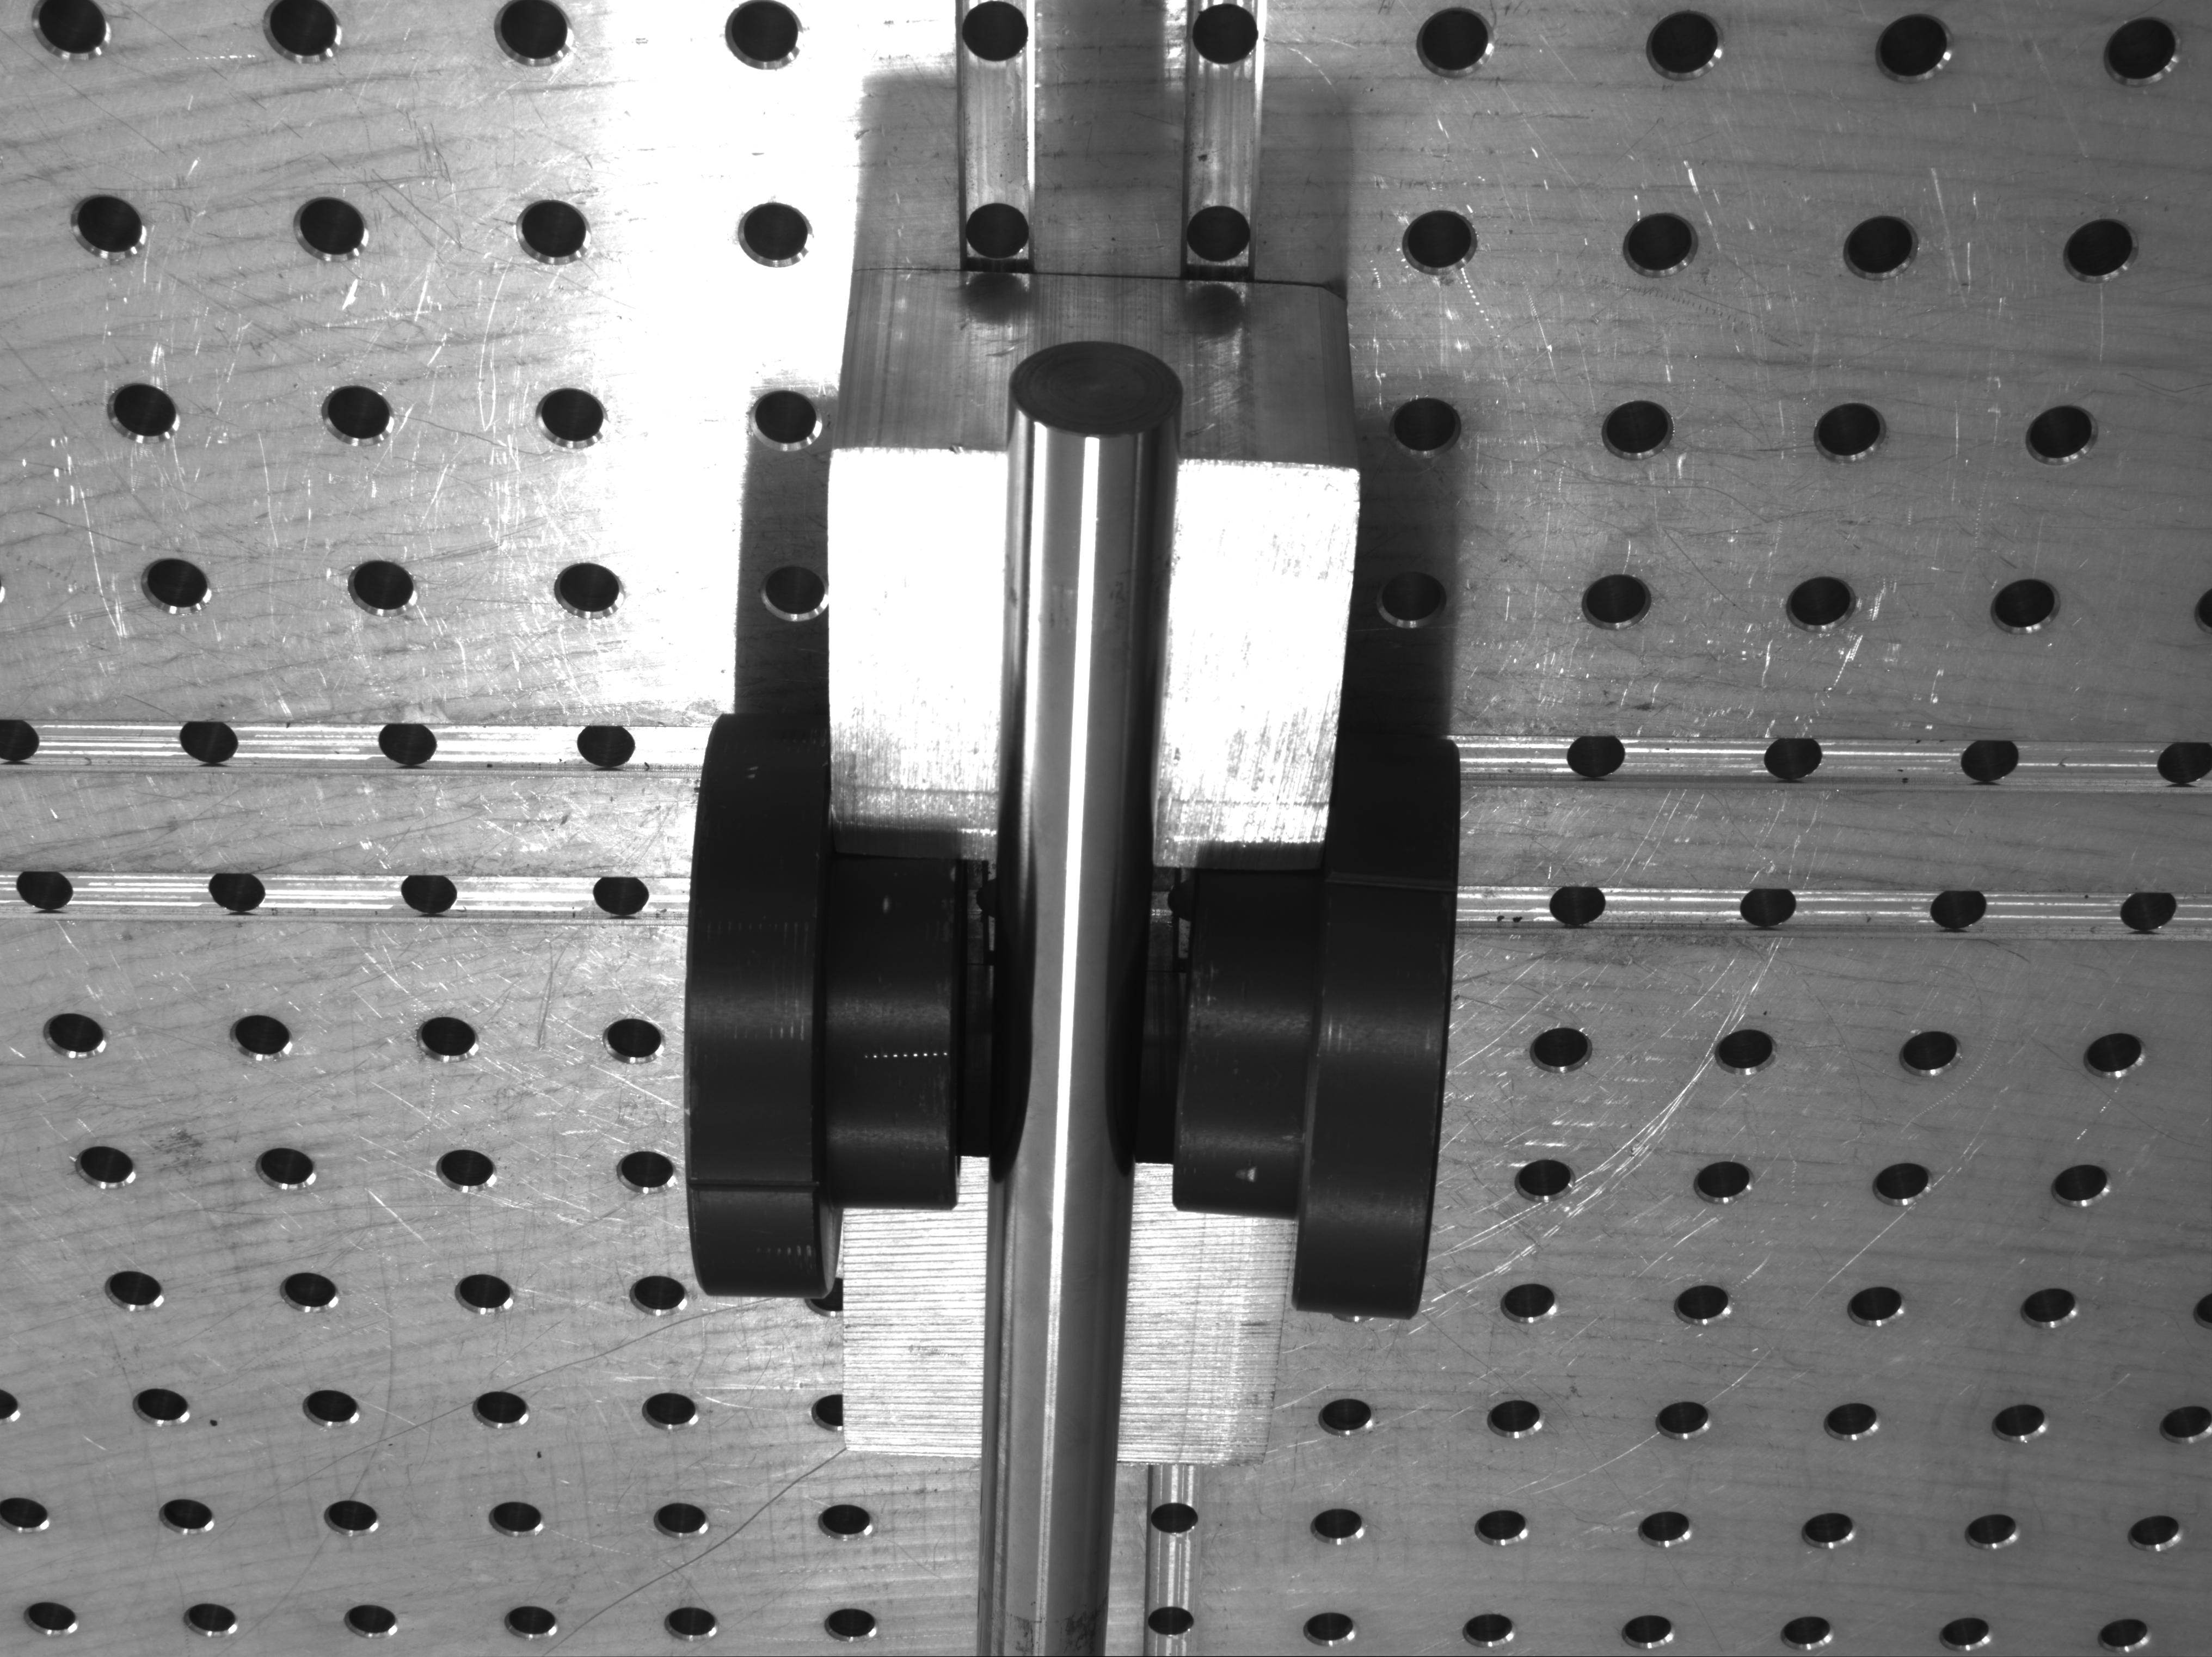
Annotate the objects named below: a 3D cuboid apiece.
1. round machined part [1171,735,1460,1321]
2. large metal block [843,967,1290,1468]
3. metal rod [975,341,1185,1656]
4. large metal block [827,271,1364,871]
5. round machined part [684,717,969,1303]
[{"bbox_3d":[0.035,0.033,0.622,0.042,0.098,0.098,4,130,3],"label":"round machined part"},{"bbox_3d":[-0.008,0.073,0.687,0.080,0.050,0.080,2,130,-2],"label":"large metal block"},{"bbox_3d":[-0.007,0.052,0.621,0.025,0.025,0.300,2,130,-1],"label":"metal rod"},{"bbox_3d":[-0.003,-0.041,0.592,0.080,0.050,0.080,2,130,-1],"label":"large metal block"},{"bbox_3d":[-0.045,0.031,0.620,0.042,0.098,0.098,1,130,-1],"label":"round machined part"}]
